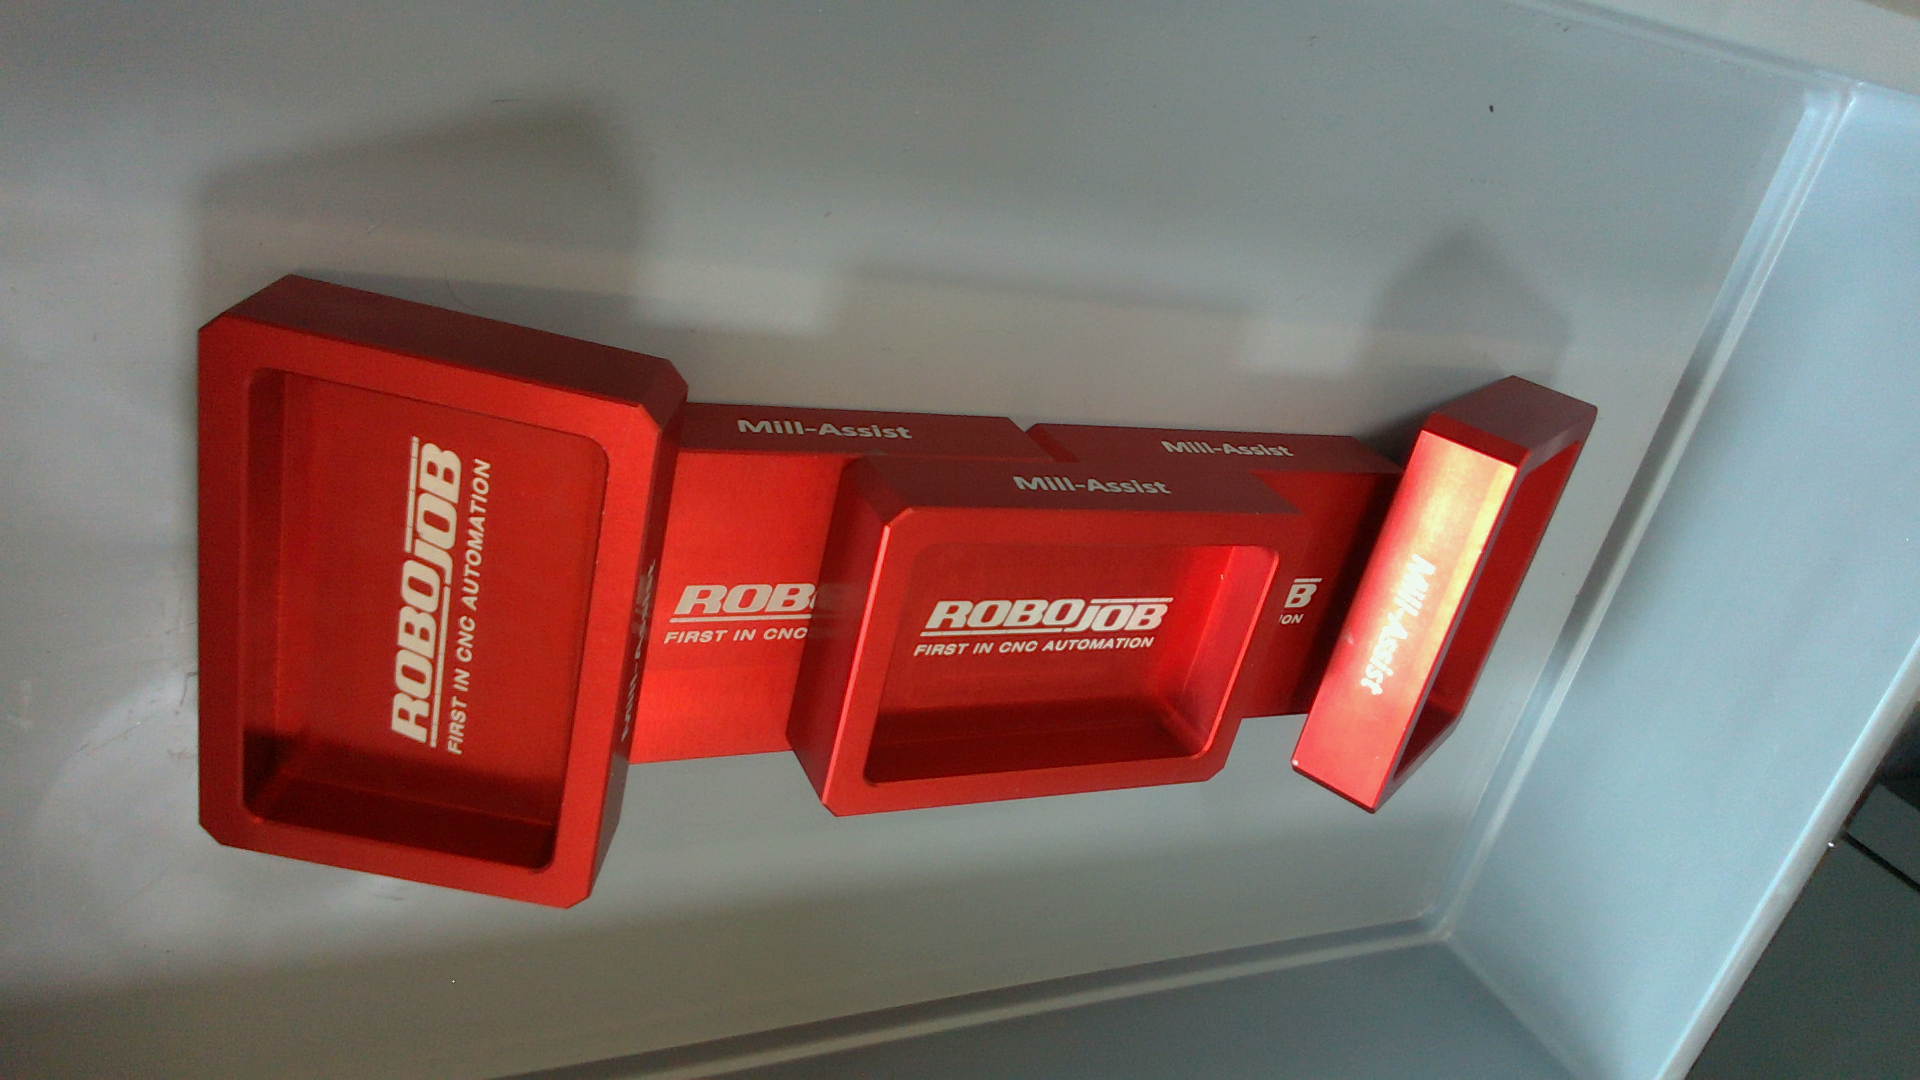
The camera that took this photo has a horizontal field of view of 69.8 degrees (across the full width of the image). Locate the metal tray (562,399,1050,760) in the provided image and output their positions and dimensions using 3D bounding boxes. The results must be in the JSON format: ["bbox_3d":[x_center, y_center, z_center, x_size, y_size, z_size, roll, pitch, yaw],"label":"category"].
[{"bbox_3d":[-0.045,0.011,0.368,0.130,0.030,0.090,0,118,-28],"label":"metal tray"}]

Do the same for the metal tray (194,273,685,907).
[{"bbox_3d":[-0.118,0.015,0.307,0.090,0.030,0.130,12,115,-6],"label":"metal tray"}]

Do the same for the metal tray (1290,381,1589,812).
[{"bbox_3d":[0.159,0.017,0.456,0.090,0.030,0.130,-21,132,-52],"label":"metal tray"}]

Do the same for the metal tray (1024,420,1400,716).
[{"bbox_3d":[0.070,0.012,0.431,0.130,0.030,0.090,0,118,-28],"label":"metal tray"}]

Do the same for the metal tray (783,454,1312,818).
[{"bbox_3d":[0.025,0.026,0.374,0.130,0.030,0.090,1,117,-28],"label":"metal tray"}]
